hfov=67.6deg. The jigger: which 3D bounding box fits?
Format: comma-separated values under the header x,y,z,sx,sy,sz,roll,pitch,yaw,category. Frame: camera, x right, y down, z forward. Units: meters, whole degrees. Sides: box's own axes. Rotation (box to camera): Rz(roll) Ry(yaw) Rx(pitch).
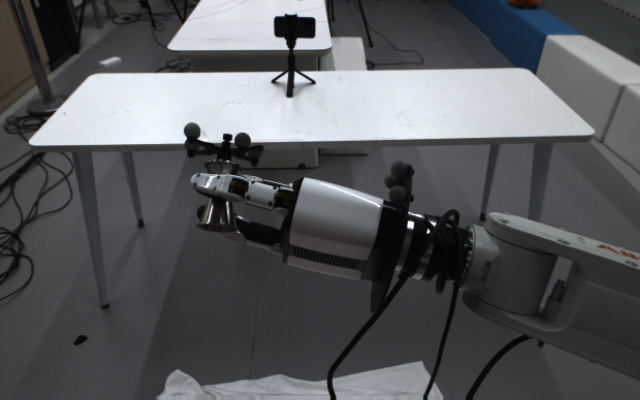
x,y,z,sx,sy,sz,roll,pitch,yaw,category
-0.104,-0.004,0.507,0.043,0.043,0.071,3,76,1,jigger
